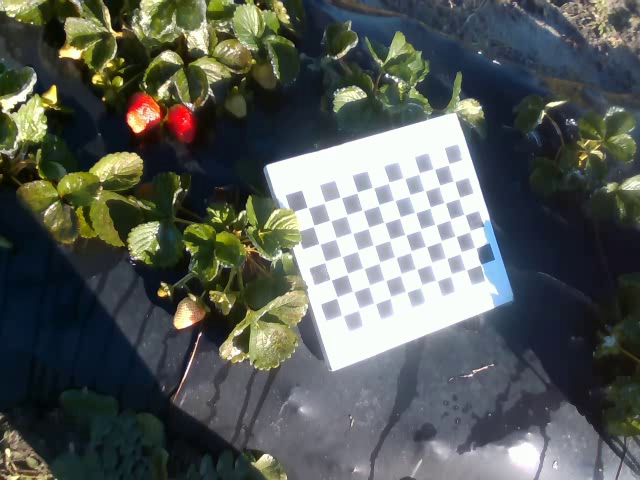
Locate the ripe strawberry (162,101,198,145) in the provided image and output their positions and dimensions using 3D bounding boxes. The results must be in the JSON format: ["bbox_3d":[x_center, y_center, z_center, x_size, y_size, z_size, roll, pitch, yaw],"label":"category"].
[{"bbox_3d":[-0.198,-0.168,0.877,0.043,0.059,0.040,-18,-4,-18],"label":"ripe strawberry"}]

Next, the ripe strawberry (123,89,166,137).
[{"bbox_3d":[-0.251,-0.175,0.871,0.052,0.070,0.040,32,-20,-20],"label":"ripe strawberry"}]
